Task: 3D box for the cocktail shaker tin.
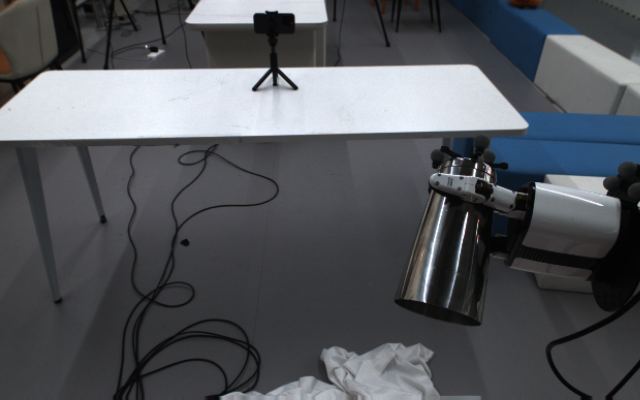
[{"bbox_3d":[0.149,0.040,0.541,0.093,0.093,0.170,13,71,15],"label":"cocktail shaker tin"}]
